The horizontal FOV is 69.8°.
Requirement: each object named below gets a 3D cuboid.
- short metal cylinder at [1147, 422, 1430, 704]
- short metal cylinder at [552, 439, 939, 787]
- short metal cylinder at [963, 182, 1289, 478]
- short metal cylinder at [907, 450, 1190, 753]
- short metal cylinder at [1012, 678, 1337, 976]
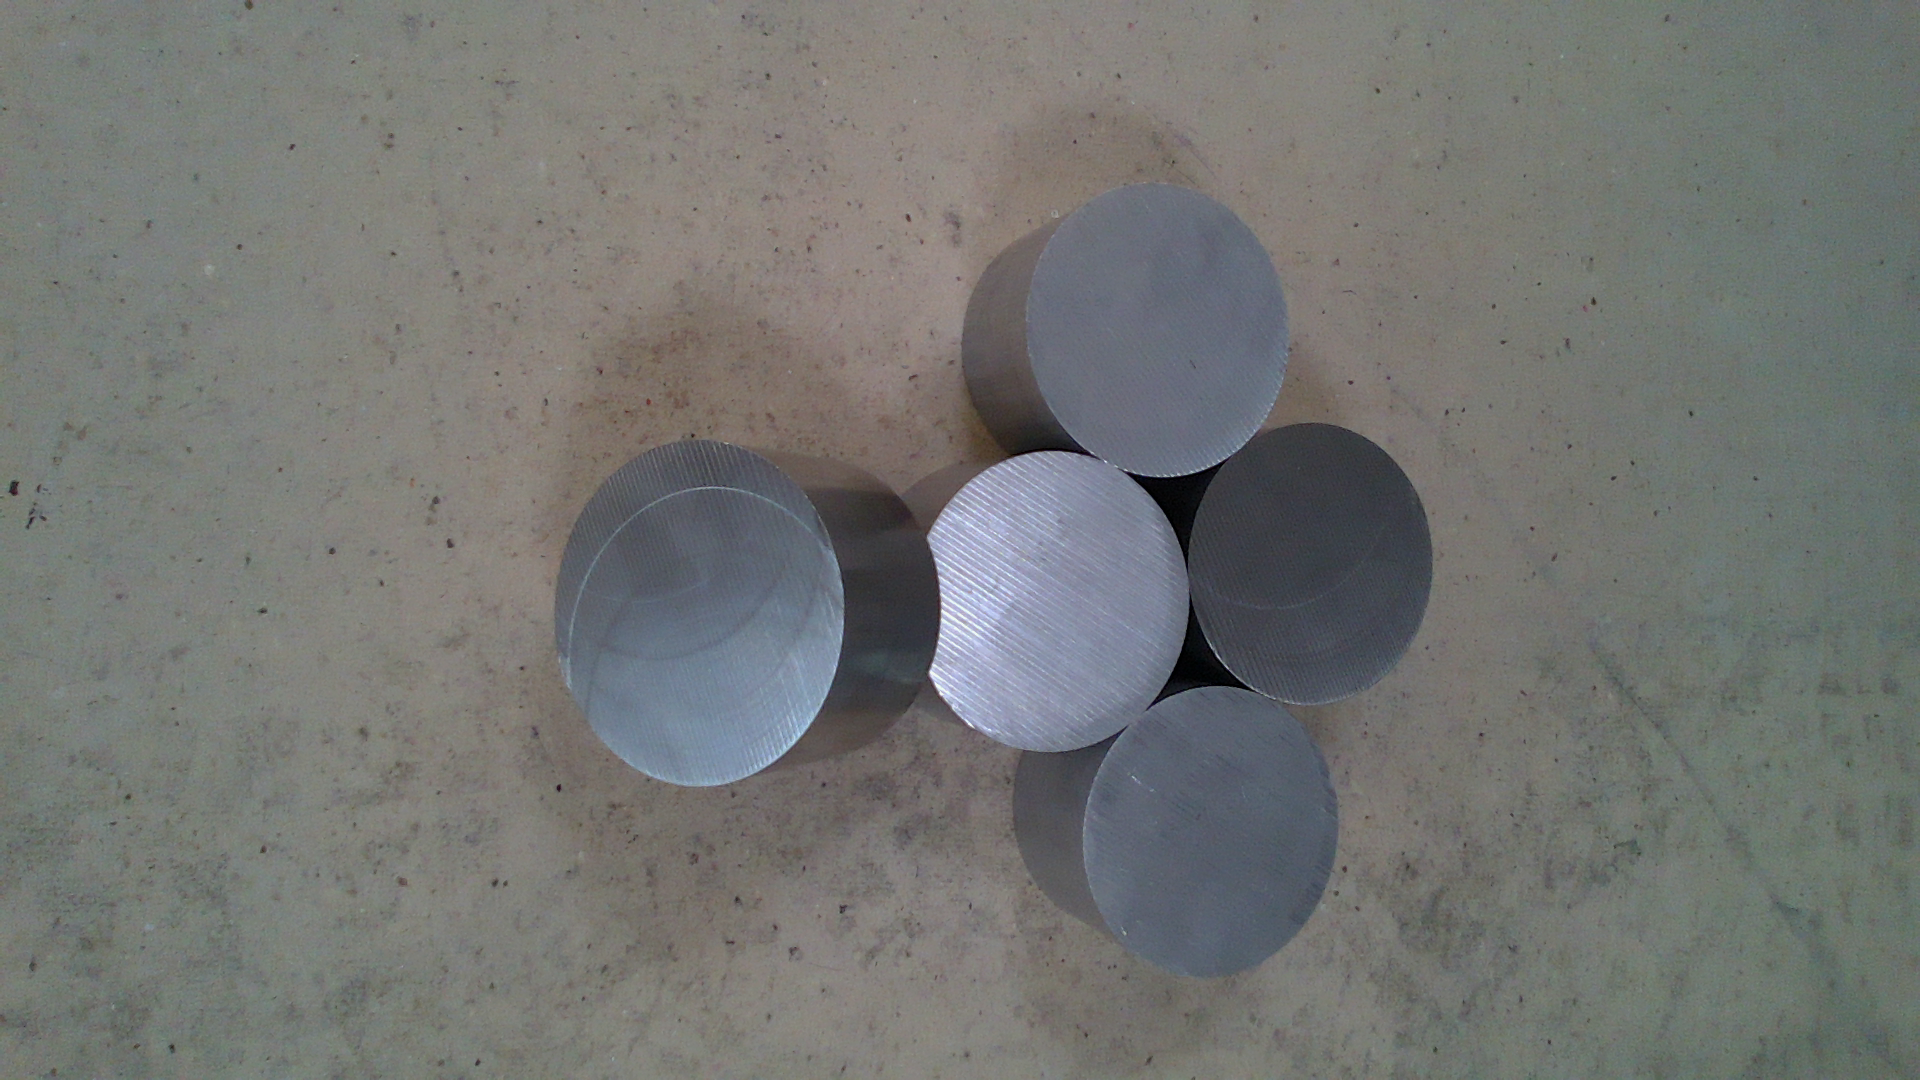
[{"bbox_3d":[0.092,0.006,0.414,0.080,0.050,0.080,0,90,-20],"label":"short metal cylinder"},{"bbox_3d":[-0.052,0.017,0.340,0.080,0.050,0.080,-1,89,24],"label":"short metal cylinder"},{"bbox_3d":[0.047,-0.057,0.397,0.080,0.050,0.080,0,90,-20],"label":"short metal cylinder"},{"bbox_3d":[0.017,0.016,0.386,0.080,0.050,0.080,0,90,-20],"label":"short metal cylinder"},{"bbox_3d":[0.062,0.080,0.403,0.080,0.050,0.080,0,90,-20],"label":"short metal cylinder"}]
